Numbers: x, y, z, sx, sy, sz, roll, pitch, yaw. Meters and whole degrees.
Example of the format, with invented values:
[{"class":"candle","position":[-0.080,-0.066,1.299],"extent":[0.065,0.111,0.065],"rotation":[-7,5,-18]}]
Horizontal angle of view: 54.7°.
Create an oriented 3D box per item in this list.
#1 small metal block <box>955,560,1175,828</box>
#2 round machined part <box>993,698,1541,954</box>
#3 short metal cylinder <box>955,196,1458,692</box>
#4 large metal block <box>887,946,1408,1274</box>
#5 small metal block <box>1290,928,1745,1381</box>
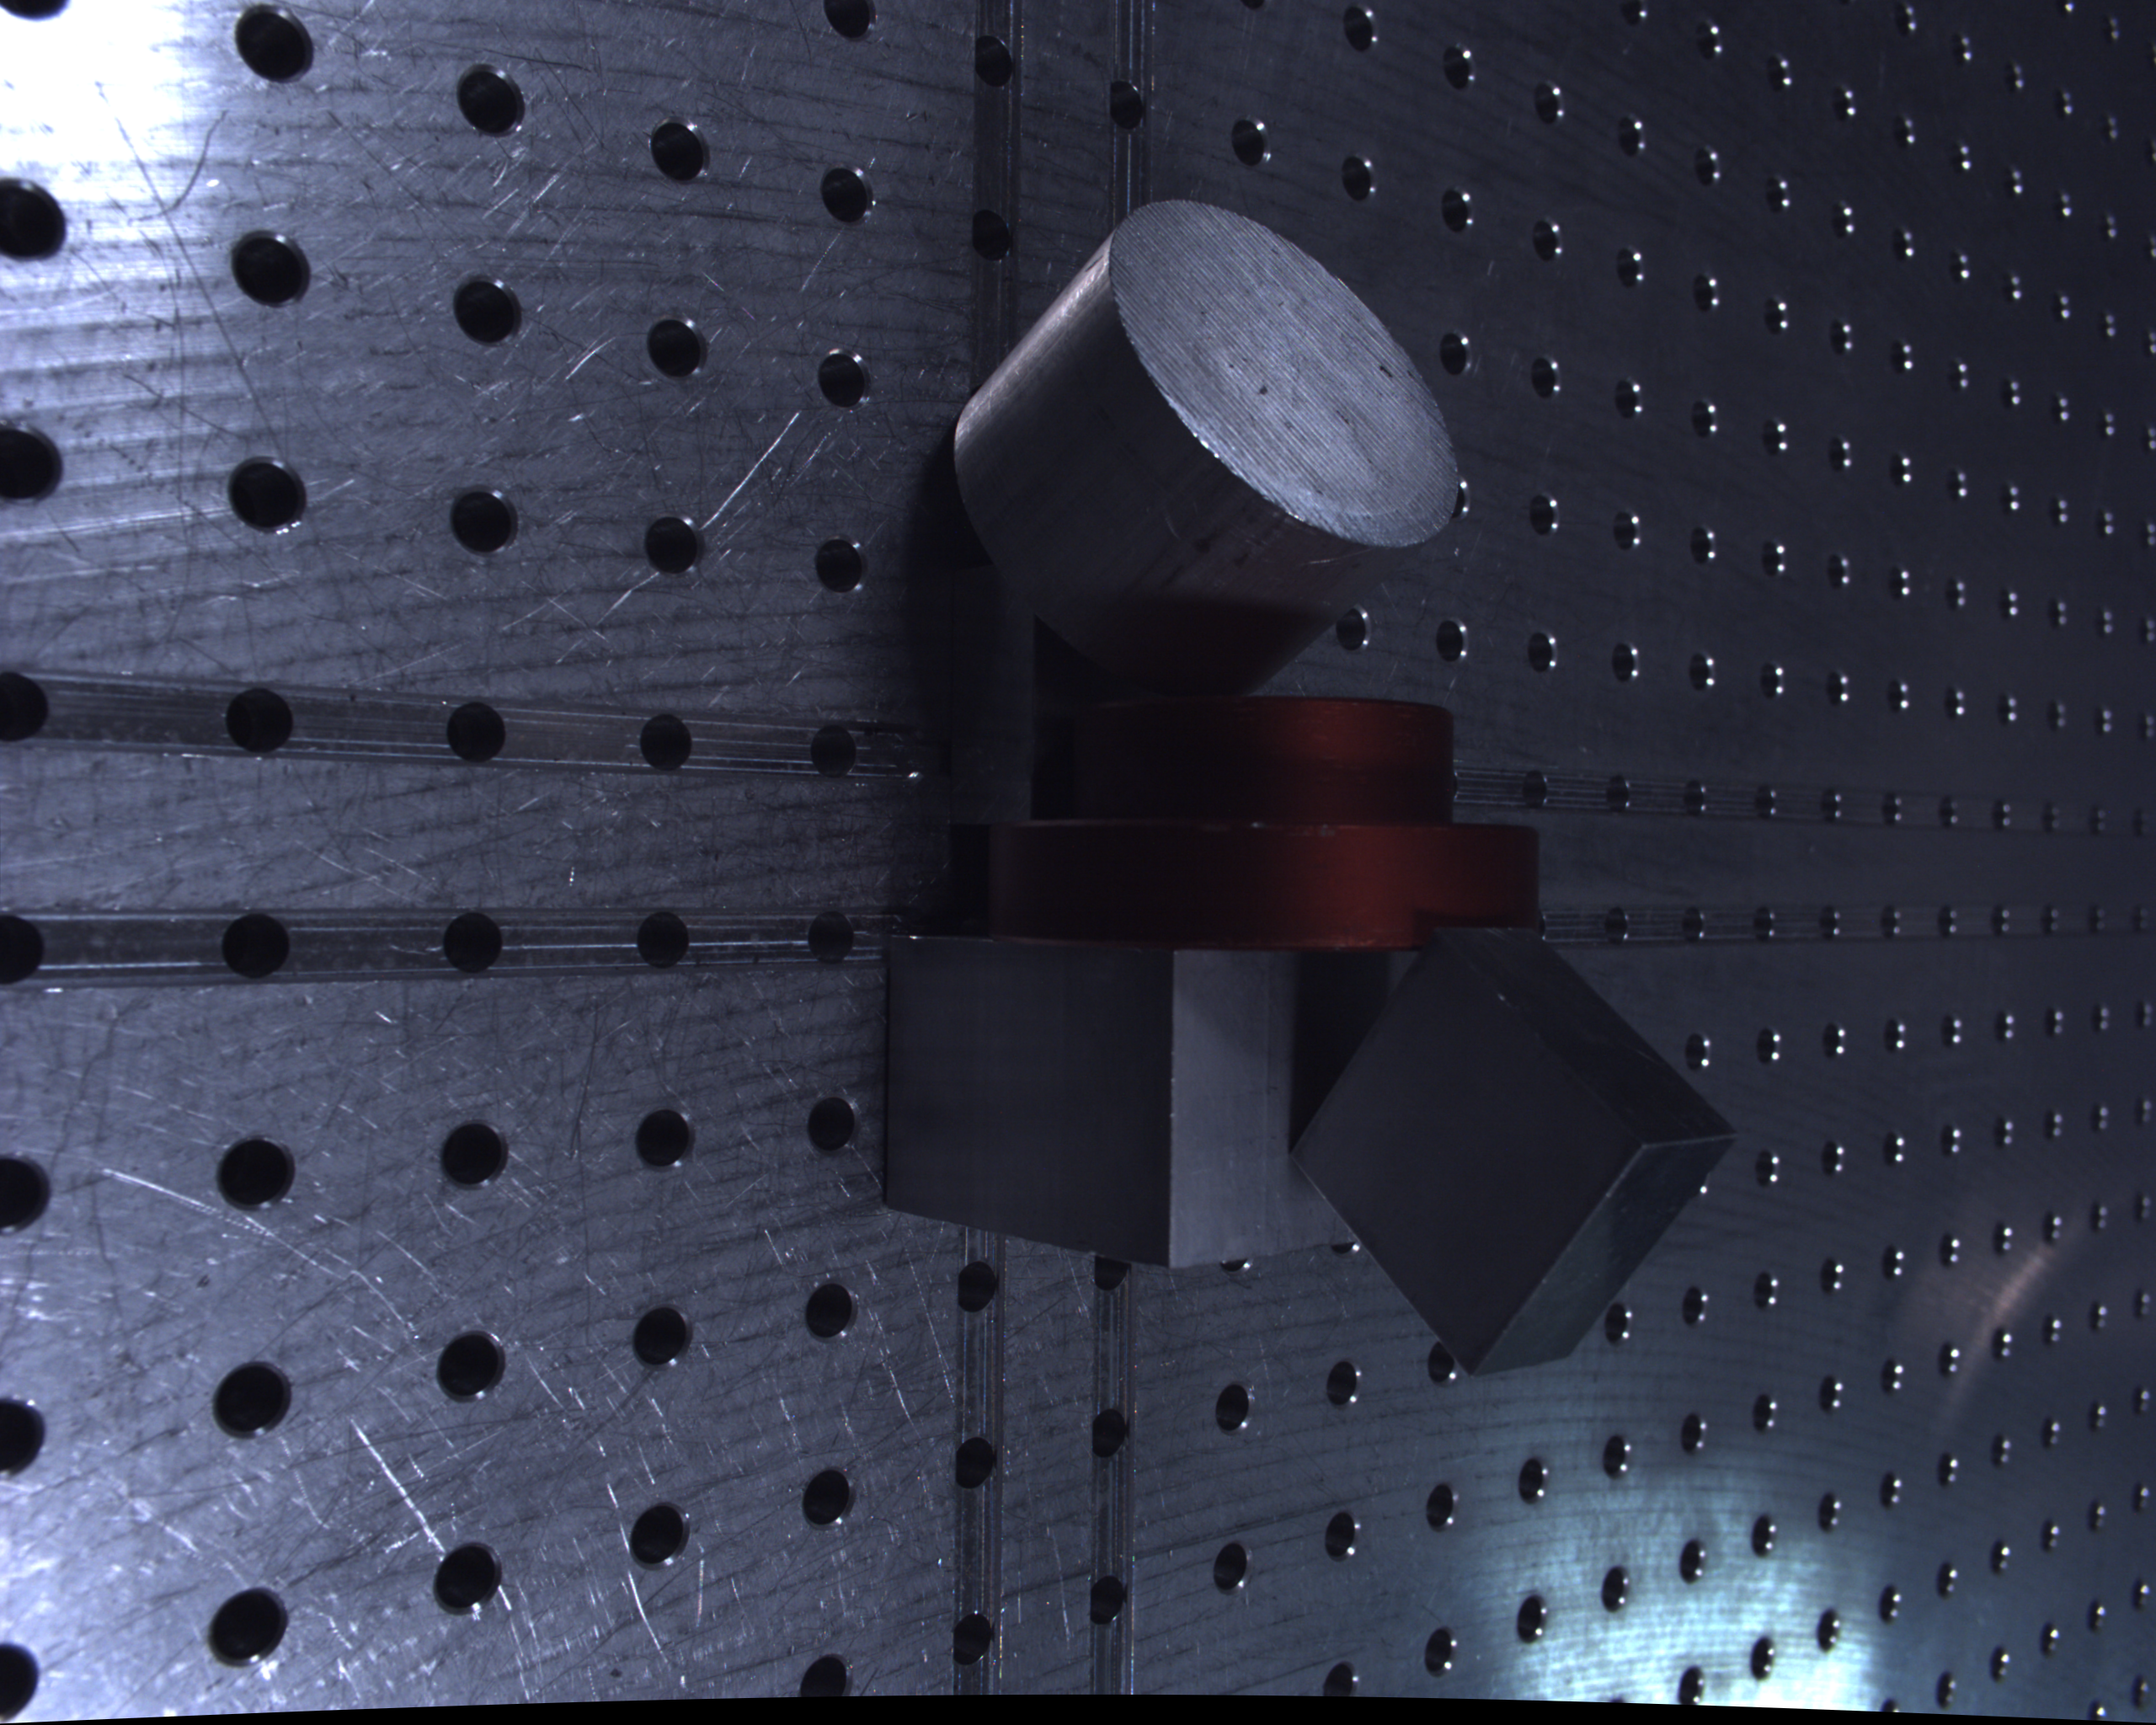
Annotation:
[{"class":"small metal block","position":[0.004,-0.031,0.413],"extent":[0.050,0.025,0.050],"rotation":[1,90,-40]},{"class":"round machined part","position":[0.034,-0.006,0.378],"extent":[0.099,0.098,0.042],"rotation":[1,90,-40]},{"class":"short metal cylinder","position":[0.024,-0.077,0.393],"extent":[0.080,0.050,0.080],"rotation":[23,47,-27]},{"class":"large metal block","position":[0.021,0.042,0.392],"extent":[0.081,0.080,0.050],"rotation":[1,90,-40]},{"class":"small metal block","position":[0.068,0.046,0.334],"extent":[0.025,0.050,0.050],"rotation":[2,127,-41]}]
